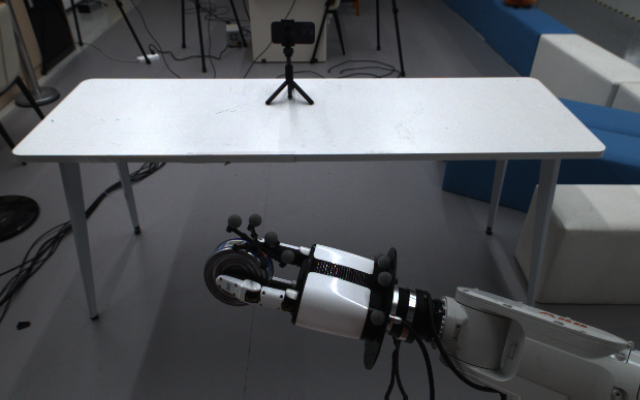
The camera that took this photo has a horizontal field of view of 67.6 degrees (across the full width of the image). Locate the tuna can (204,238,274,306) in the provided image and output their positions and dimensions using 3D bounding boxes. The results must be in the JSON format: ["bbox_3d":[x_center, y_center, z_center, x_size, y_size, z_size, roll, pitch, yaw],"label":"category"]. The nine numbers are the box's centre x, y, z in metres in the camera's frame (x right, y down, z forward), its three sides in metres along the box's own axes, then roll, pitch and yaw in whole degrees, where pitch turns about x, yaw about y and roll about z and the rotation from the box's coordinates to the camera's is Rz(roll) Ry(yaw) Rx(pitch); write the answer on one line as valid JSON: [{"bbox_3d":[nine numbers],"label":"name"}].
[{"bbox_3d":[-0.102,0.100,0.625,0.085,0.085,0.034,7,19,6],"label":"tuna can"}]
